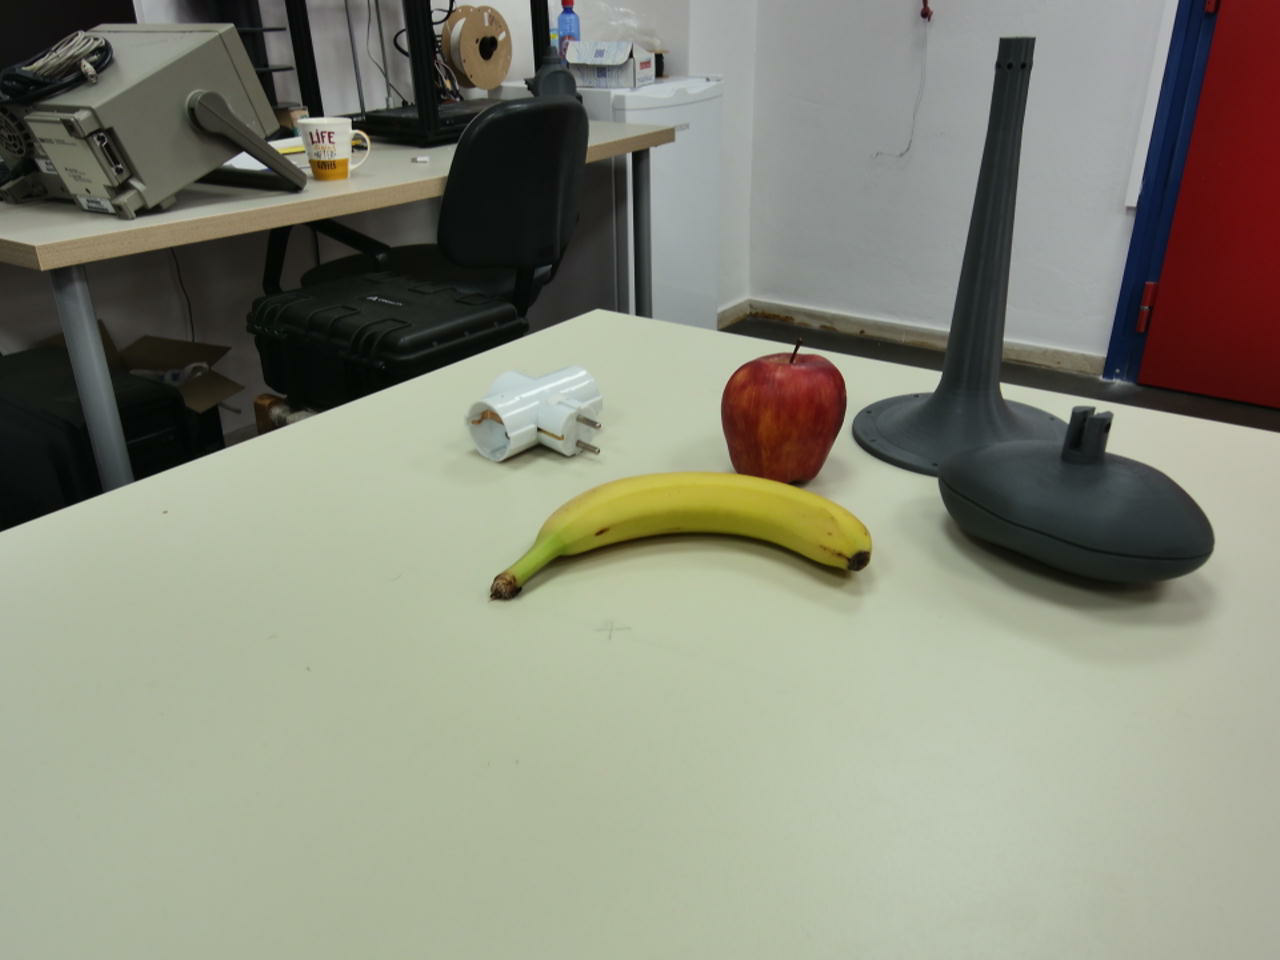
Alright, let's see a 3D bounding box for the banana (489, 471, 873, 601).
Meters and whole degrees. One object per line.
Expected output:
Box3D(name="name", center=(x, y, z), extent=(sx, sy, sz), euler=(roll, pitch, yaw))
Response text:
Box3D(name="banana", center=(0.022, 0.025, 0.547), extent=(0.196, 0.041, 0.094), euler=(0, 24, 1))
